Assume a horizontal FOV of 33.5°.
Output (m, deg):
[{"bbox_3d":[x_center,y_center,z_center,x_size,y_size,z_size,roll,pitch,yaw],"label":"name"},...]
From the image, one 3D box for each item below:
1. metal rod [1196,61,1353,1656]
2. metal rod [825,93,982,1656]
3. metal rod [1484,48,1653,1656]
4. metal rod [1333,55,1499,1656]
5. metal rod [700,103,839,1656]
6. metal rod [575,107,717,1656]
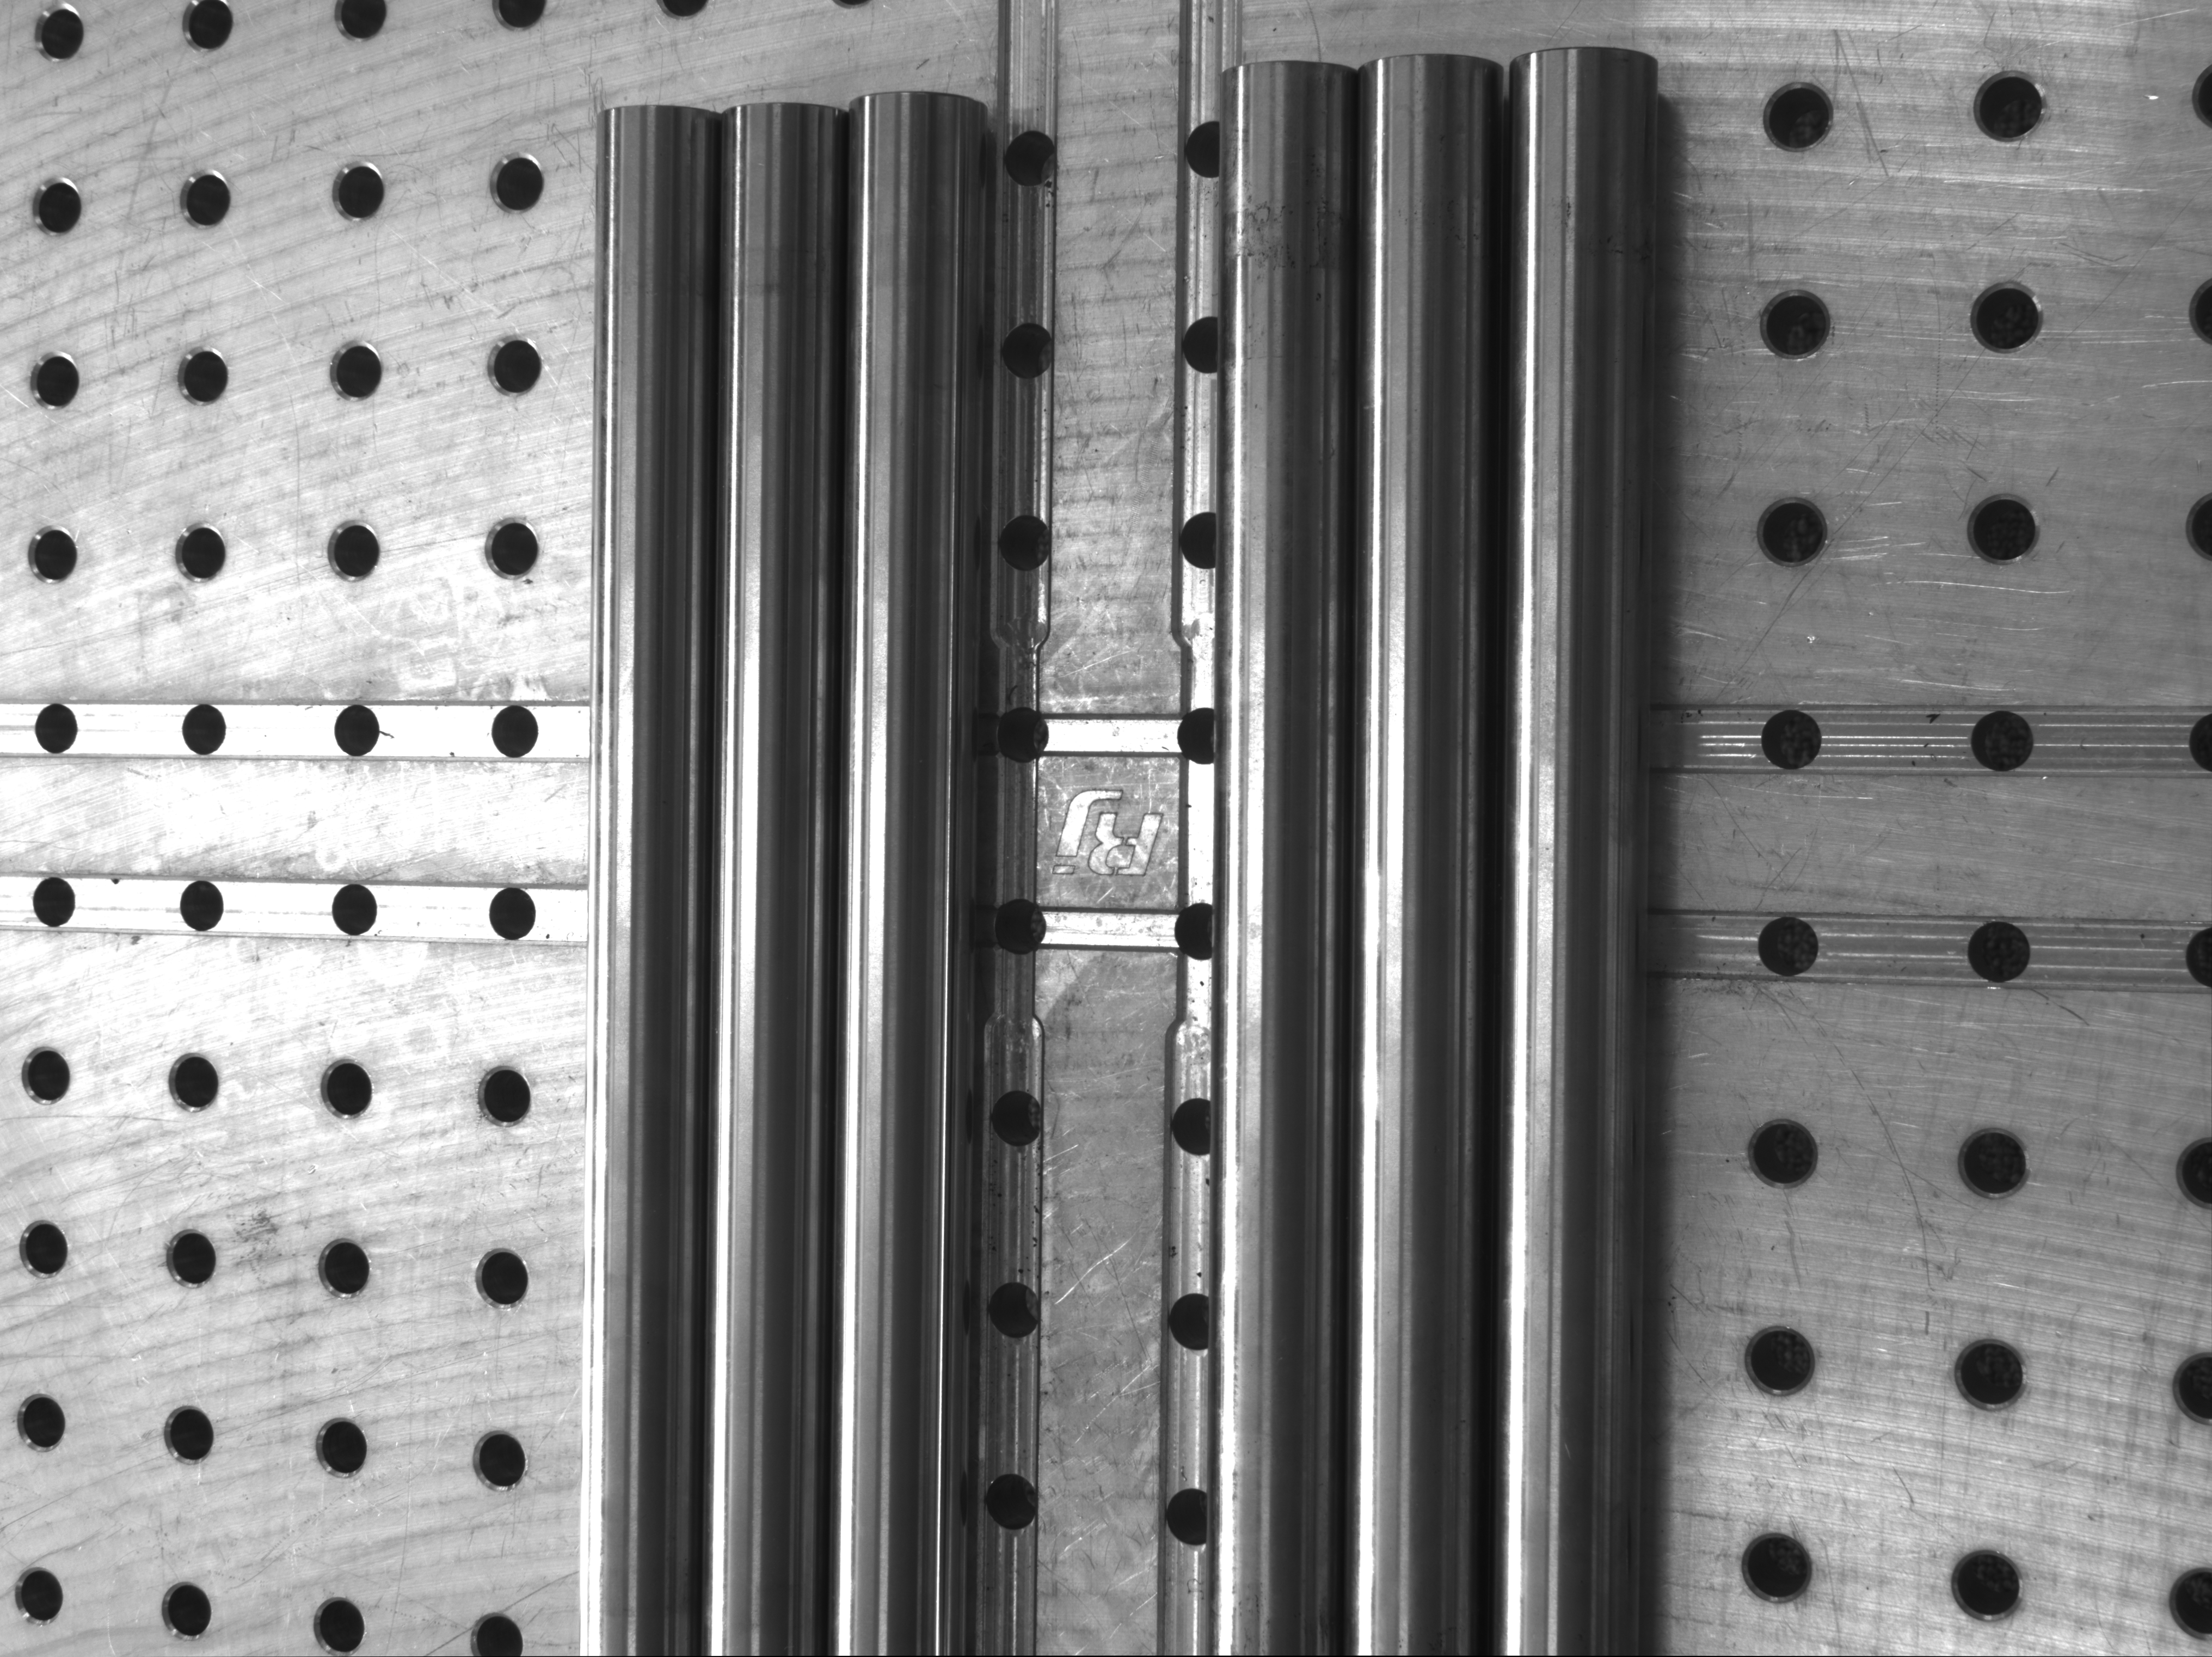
[{"bbox_3d":[0.030,0.019,0.638,0.025,0.025,0.300,1,90,20],"label":"metal rod"},{"bbox_3d":[-0.037,0.020,0.662,0.025,0.025,0.300,1,90,20],"label":"metal rod"},{"bbox_3d":[0.078,0.021,0.620,0.025,0.025,0.300,1,90,20],"label":"metal rod"},{"bbox_3d":[0.053,0.020,0.630,0.025,0.025,0.300,1,90,20],"label":"metal rod"},{"bbox_3d":[-0.060,0.020,0.671,0.025,0.025,0.300,1,90,20],"label":"metal rod"},{"bbox_3d":[-0.084,0.019,0.680,0.025,0.025,0.300,1,90,20],"label":"metal rod"}]
